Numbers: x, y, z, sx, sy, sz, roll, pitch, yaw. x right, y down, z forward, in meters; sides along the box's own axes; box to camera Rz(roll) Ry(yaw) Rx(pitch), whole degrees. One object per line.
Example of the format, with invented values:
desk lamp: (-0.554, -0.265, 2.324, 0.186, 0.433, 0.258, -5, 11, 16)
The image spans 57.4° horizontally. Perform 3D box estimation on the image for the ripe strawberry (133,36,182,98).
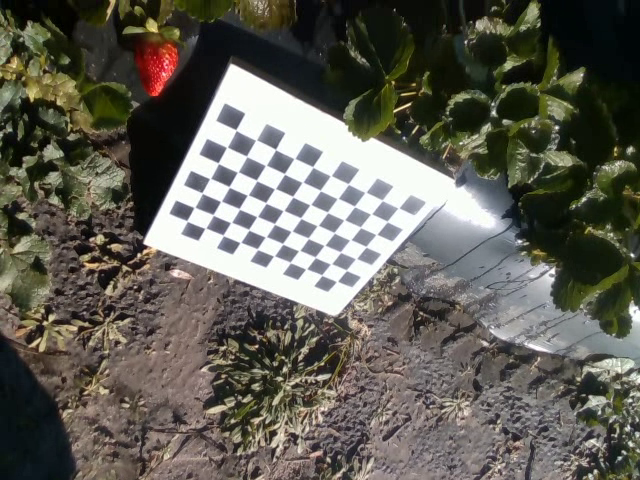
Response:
ripe strawberry: (-0.164, -0.173, 0.570, 0.048, 0.069, 0.040, 9, 32, -8)
